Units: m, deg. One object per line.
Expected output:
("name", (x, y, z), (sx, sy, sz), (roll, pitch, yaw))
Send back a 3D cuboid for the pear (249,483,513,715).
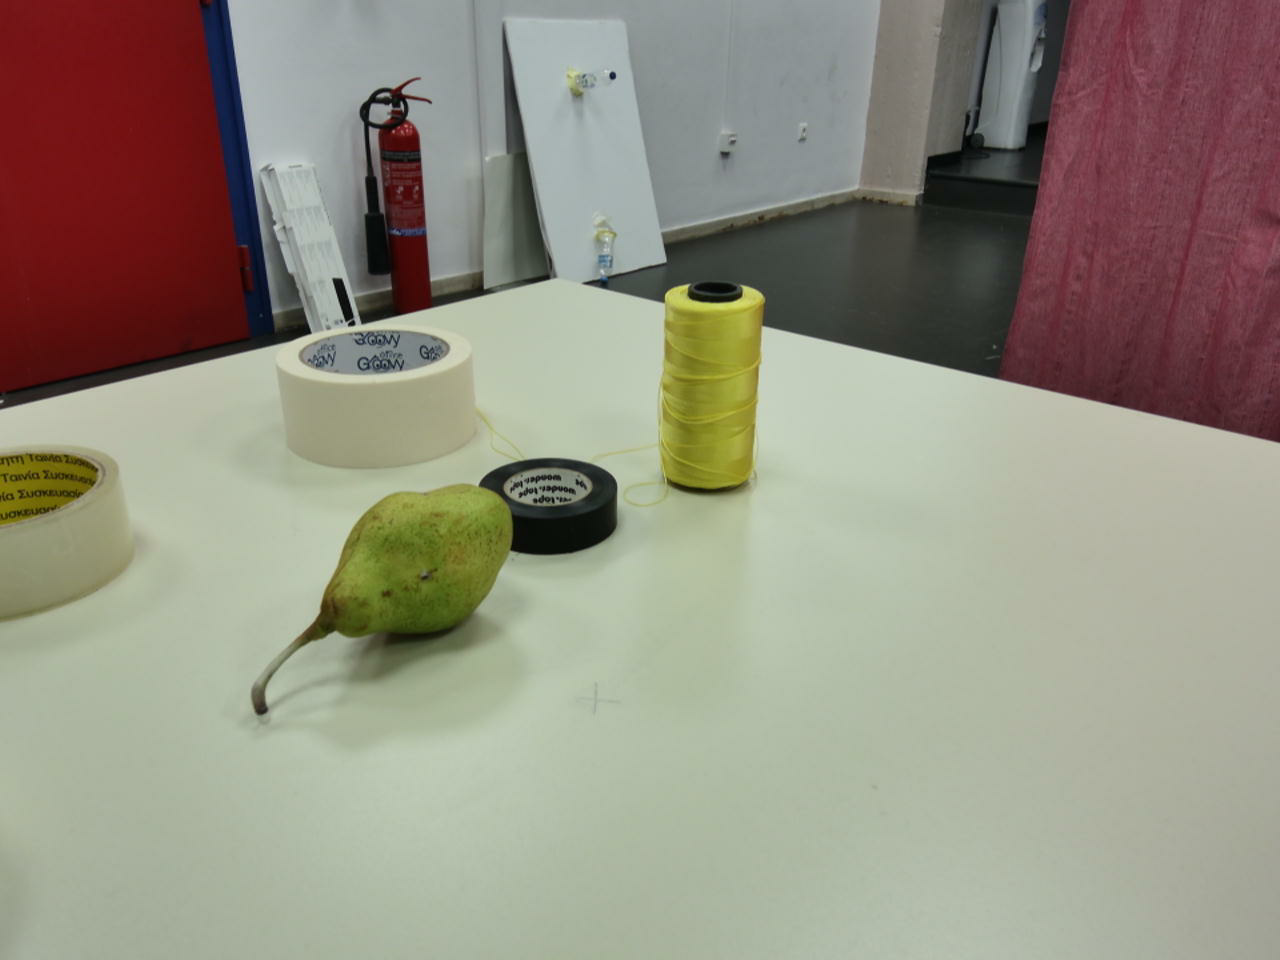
("pear", (-0.099, 0.035, 0.375), (0.111, 0.056, 0.056), (-15, 27, -33))
